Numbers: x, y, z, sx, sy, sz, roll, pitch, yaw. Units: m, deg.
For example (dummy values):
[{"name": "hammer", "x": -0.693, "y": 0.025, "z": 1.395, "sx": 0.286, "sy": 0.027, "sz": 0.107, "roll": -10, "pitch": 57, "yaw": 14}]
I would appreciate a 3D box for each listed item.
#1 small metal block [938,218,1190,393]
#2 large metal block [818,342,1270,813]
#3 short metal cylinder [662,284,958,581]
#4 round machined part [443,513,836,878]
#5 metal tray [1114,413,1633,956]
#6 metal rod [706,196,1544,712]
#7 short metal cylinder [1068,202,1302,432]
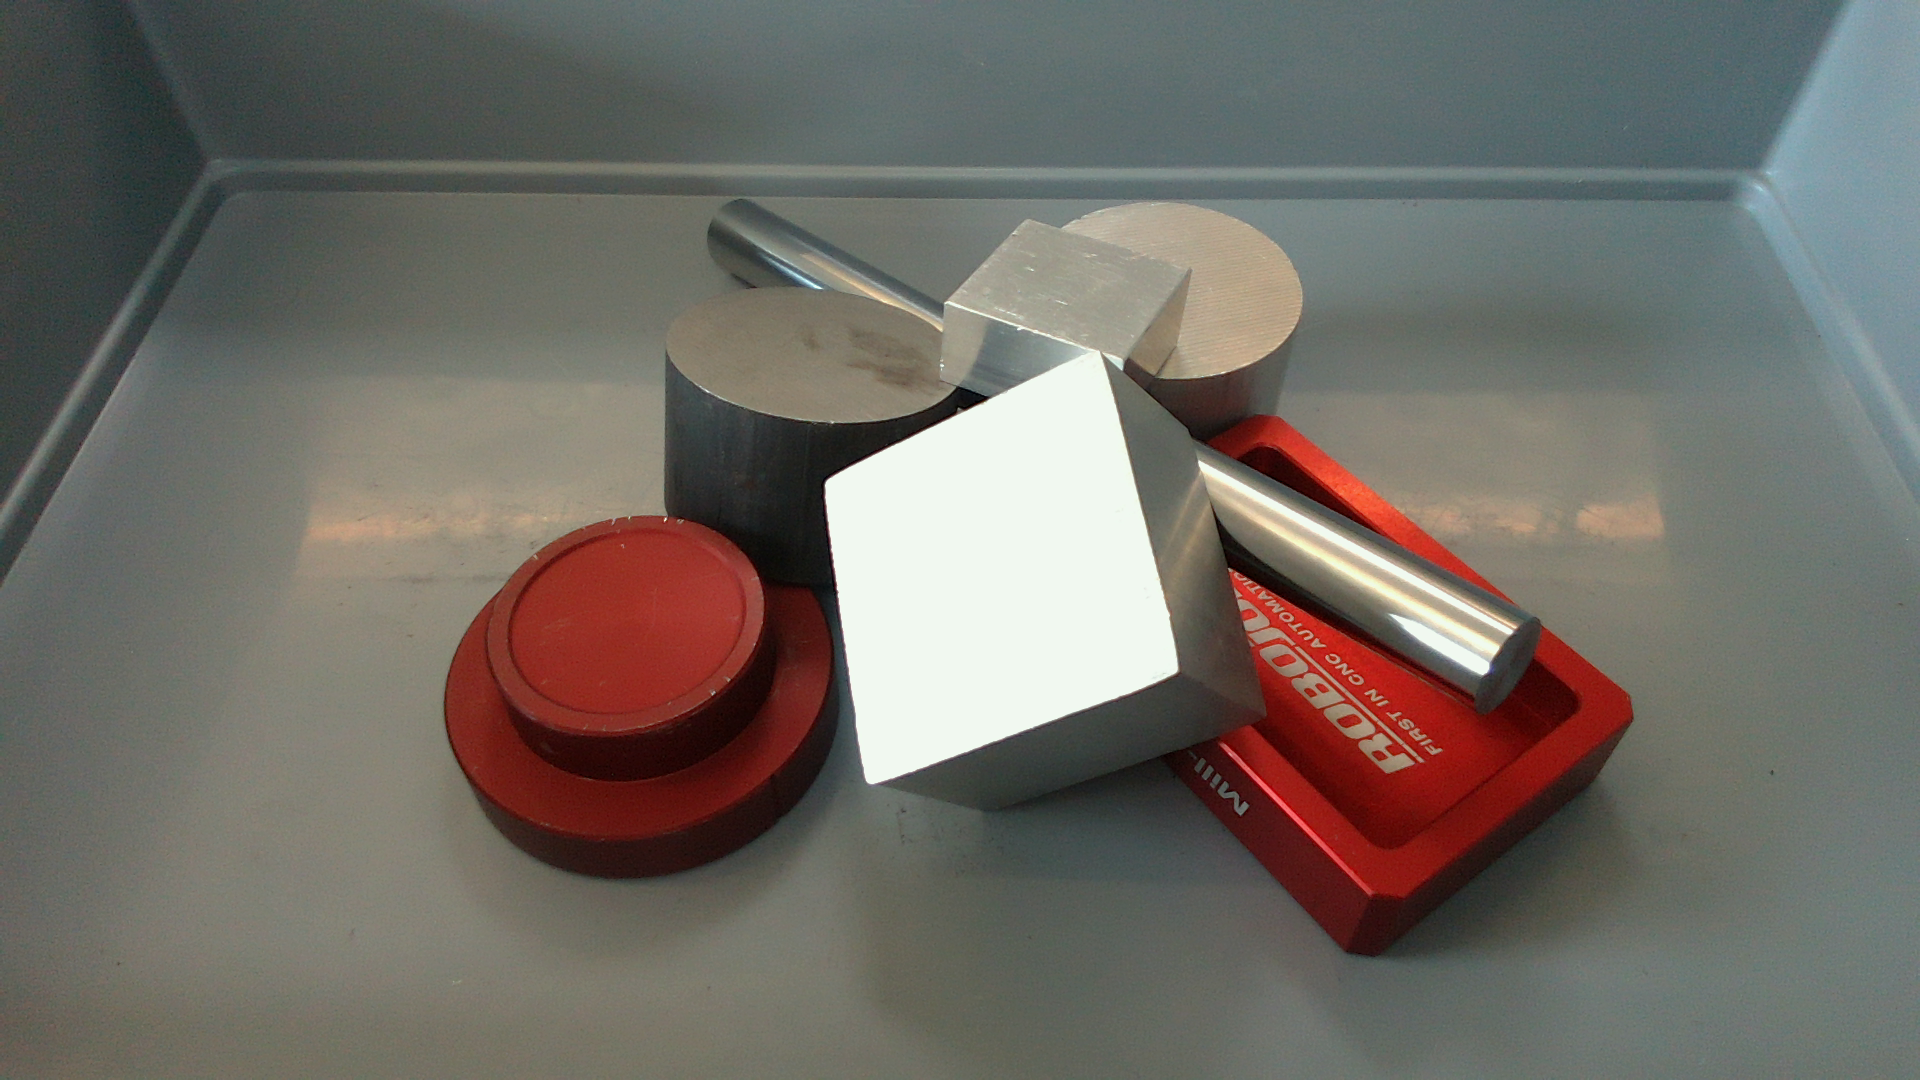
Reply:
[{"name": "small metal block", "x": 0.028, "y": -0.058, "z": 0.370, "sx": 0.050, "sy": 0.025, "sz": 0.050, "roll": 21, "pitch": 45, "yaw": 17}, {"name": "large metal block", "x": 0.018, "y": 0.013, "z": 0.329, "sx": 0.080, "sy": 0.050, "sz": 0.080, "roll": -23, "pitch": 62, "yaw": 24}, {"name": "short metal cylinder", "x": -0.042, "y": -0.032, "z": 0.386, "sx": 0.080, "sy": 0.050, "sz": 0.080, "roll": 7, "pitch": 33, "yaw": -4}, {"name": "round machined part", "x": -0.082, "y": 0.032, "z": 0.351, "sx": 0.098, "sy": 0.042, "sz": 0.098, "roll": 0, "pitch": 50, "yaw": 0}, {"name": "metal tray", "x": 0.092, "y": 0.030, "z": 0.361, "sx": 0.090, "sy": 0.030, "sz": 0.130, "roll": -29, "pitch": 56, "yaw": -22}, {"name": "metal rod", "x": 0.022, "y": -0.040, "z": 0.392, "sx": 0.025, "sy": 0.025, "sz": 0.299, "roll": -35, "pitch": 49, "yaw": -26}, {"name": "short metal cylinder", "x": 0.061, "y": -0.059, "z": 0.424, "sx": 0.080, "sy": 0.050, "sz": 0.080, "roll": 0, "pitch": 50, "yaw": 0}]
